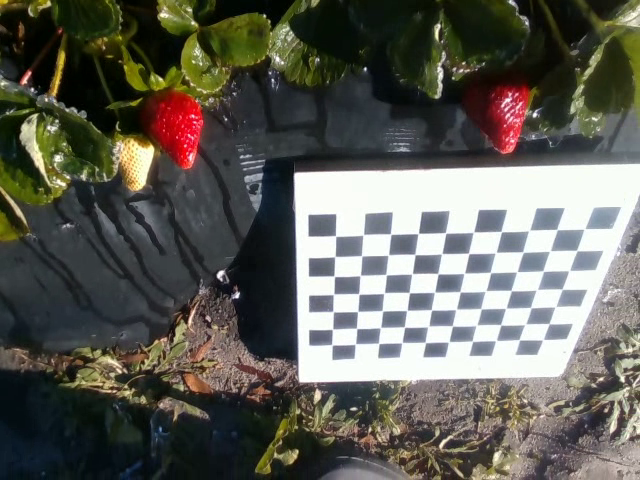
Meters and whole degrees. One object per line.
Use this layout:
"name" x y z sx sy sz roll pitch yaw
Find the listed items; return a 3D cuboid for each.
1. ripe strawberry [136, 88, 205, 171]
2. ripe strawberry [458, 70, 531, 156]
"ripe strawberry" -0.100 -0.075 0.437 0.042 0.061 0.046 -12 -2 7
"ripe strawberry" 0.128 -0.086 0.432 0.048 0.061 0.044 -6 8 2
